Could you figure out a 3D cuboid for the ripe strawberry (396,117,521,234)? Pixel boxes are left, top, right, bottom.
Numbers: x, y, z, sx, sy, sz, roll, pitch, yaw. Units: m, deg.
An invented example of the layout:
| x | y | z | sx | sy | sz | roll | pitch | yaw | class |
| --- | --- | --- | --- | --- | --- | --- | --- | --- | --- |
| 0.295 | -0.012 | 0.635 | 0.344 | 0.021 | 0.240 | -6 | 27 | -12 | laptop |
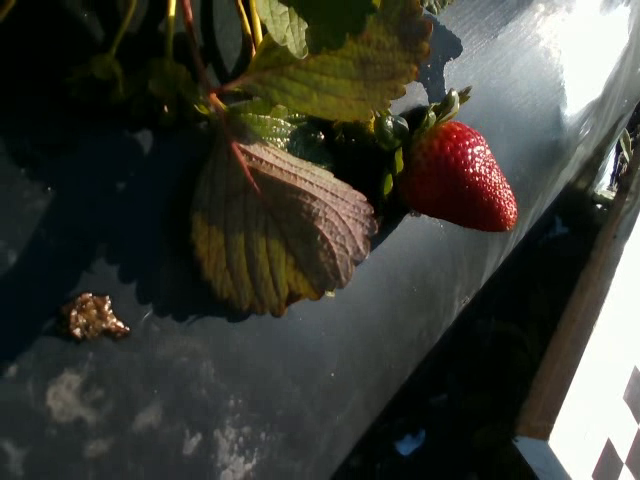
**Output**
| x | y | z | sx | sy | sz | roll | pitch | yaw | class |
| --- | --- | --- | --- | --- | --- | --- | --- | --- | --- |
| 0.054 | -0.022 | 0.223 | 0.045 | 0.055 | 0.042 | -44 | -8 | -39 | ripe strawberry |
